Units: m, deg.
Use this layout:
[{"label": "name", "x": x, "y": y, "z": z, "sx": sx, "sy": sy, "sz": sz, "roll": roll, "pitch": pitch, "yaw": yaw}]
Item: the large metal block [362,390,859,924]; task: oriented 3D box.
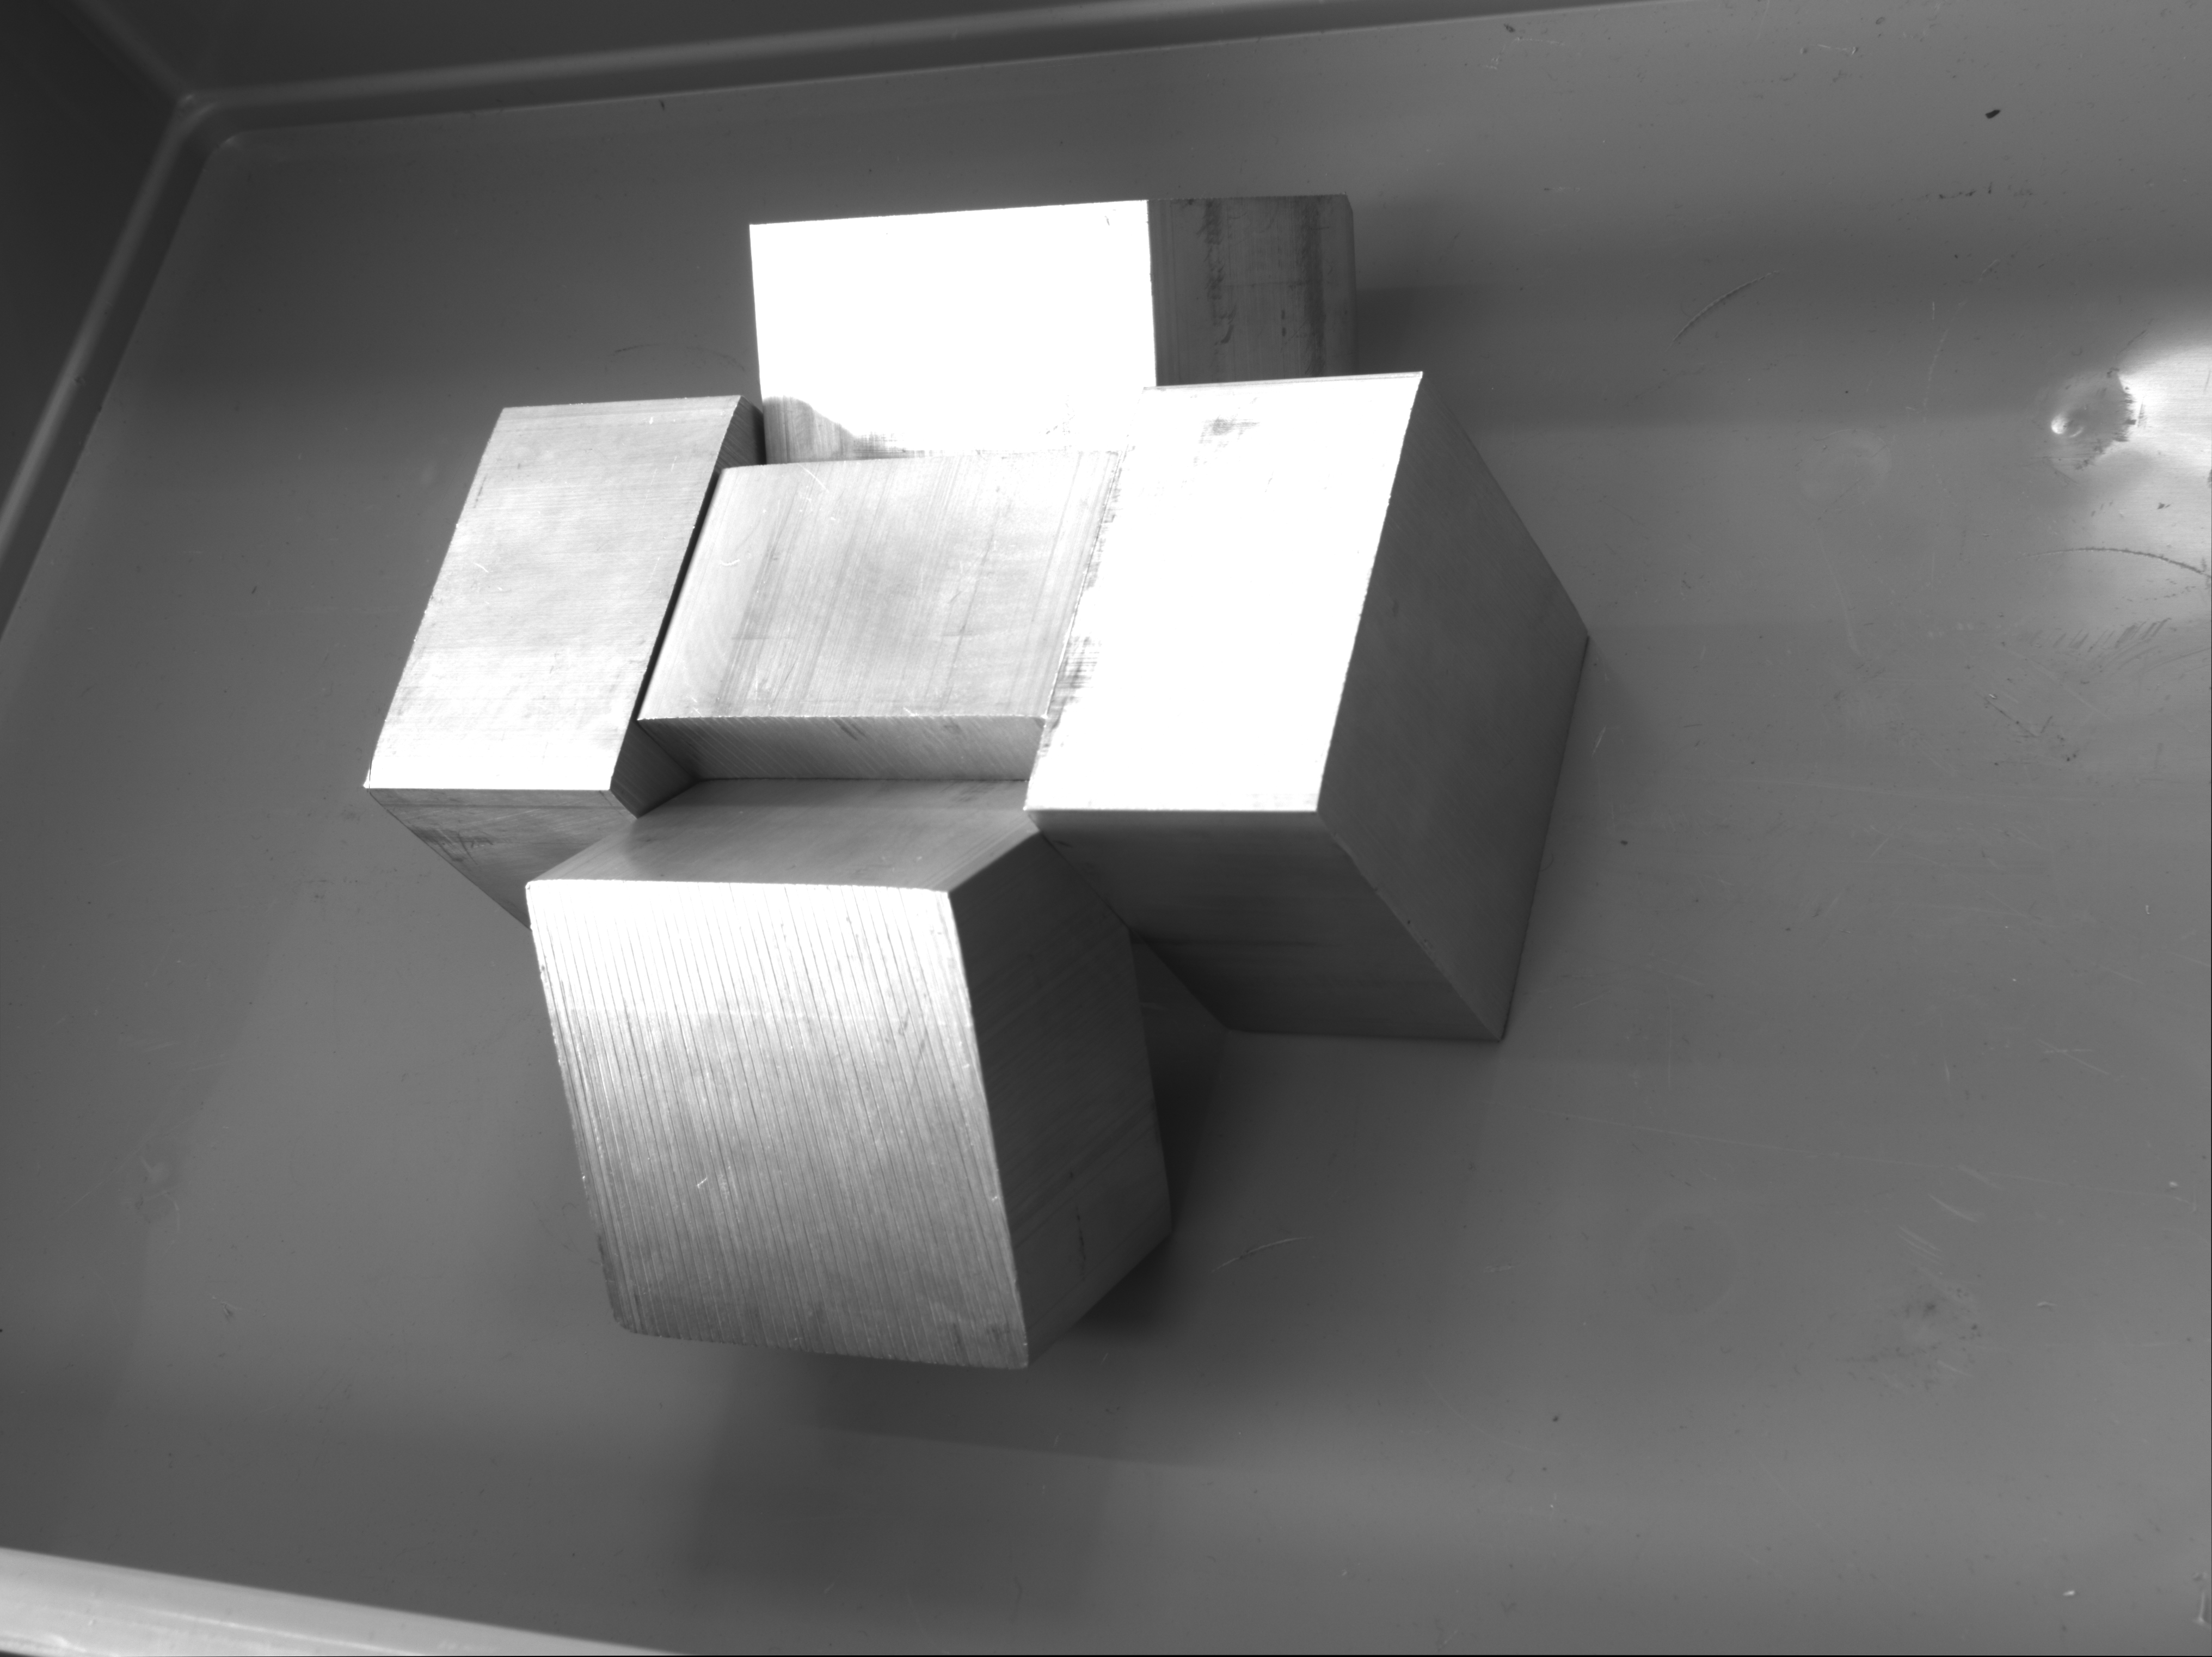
[{"label": "large metal block", "x": -0.079, "y": -0.022, "z": 0.665, "sx": 0.050, "sy": 0.080, "sz": 0.080, "roll": 1, "pitch": 62, "yaw": 29}]

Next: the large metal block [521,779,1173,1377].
[{"label": "large metal block", "x": -0.041, "y": 0.038, "z": 0.598, "sx": 0.080, "sy": 0.080, "sz": 0.050, "roll": 1, "pitch": 20, "yaw": 28}]

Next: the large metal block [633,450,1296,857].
[{"label": "large metal block", "x": -0.021, "y": -0.020, "z": 0.632, "sx": 0.080, "sy": 0.080, "sz": 0.050, "roll": 1, "pitch": 62, "yaw": 29}]

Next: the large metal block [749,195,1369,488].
[{"label": "large metal block", "x": -0.006, "y": -0.085, "z": 0.657, "sx": 0.080, "sy": 0.080, "sz": 0.050, "roll": 2, "pitch": 100, "yaw": 29}]

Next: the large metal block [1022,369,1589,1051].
[{"label": "large metal block", "x": 0.035, "y": -0.018, "z": 0.600, "sx": 0.050, "sy": 0.080, "sz": 0.080, "roll": 1, "pitch": 62, "yaw": 29}]
